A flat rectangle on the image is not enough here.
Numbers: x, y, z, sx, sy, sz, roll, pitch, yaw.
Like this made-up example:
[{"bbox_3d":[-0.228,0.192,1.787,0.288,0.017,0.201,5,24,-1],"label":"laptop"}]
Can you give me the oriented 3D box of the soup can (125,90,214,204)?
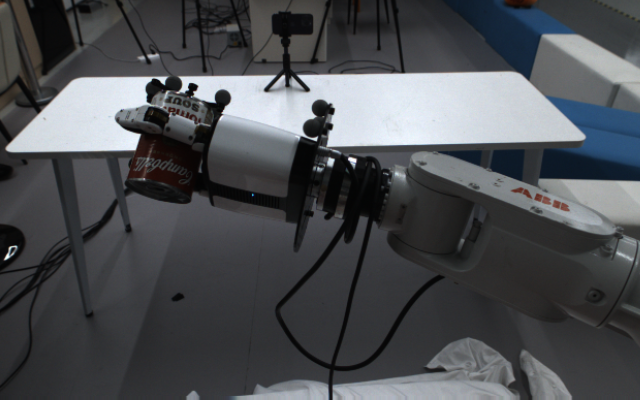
[{"bbox_3d":[-0.155,-0.054,0.508,0.067,0.067,0.101,8,73,8],"label":"soup can"}]
